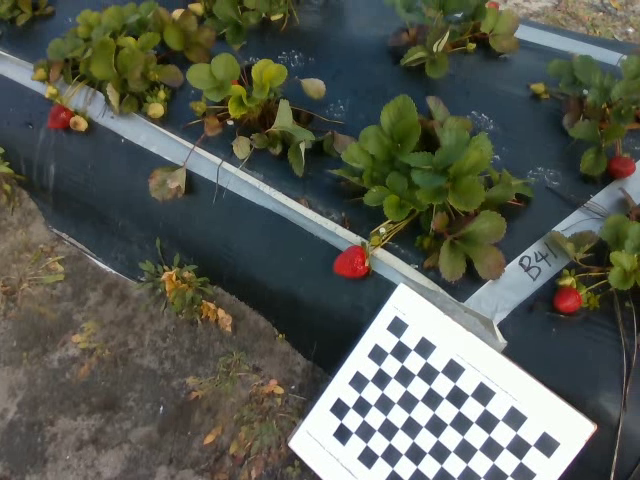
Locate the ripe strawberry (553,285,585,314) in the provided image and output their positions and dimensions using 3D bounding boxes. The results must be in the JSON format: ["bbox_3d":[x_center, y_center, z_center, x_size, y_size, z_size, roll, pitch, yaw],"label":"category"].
[{"bbox_3d":[0.292,0.073,0.750,0.048,0.038,0.030,-21,-28,-38],"label":"ripe strawberry"}]

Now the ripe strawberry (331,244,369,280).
[{"bbox_3d":[0.037,0.029,0.816,0.053,0.047,0.030,-13,-13,-5],"label":"ripe strawberry"}]
